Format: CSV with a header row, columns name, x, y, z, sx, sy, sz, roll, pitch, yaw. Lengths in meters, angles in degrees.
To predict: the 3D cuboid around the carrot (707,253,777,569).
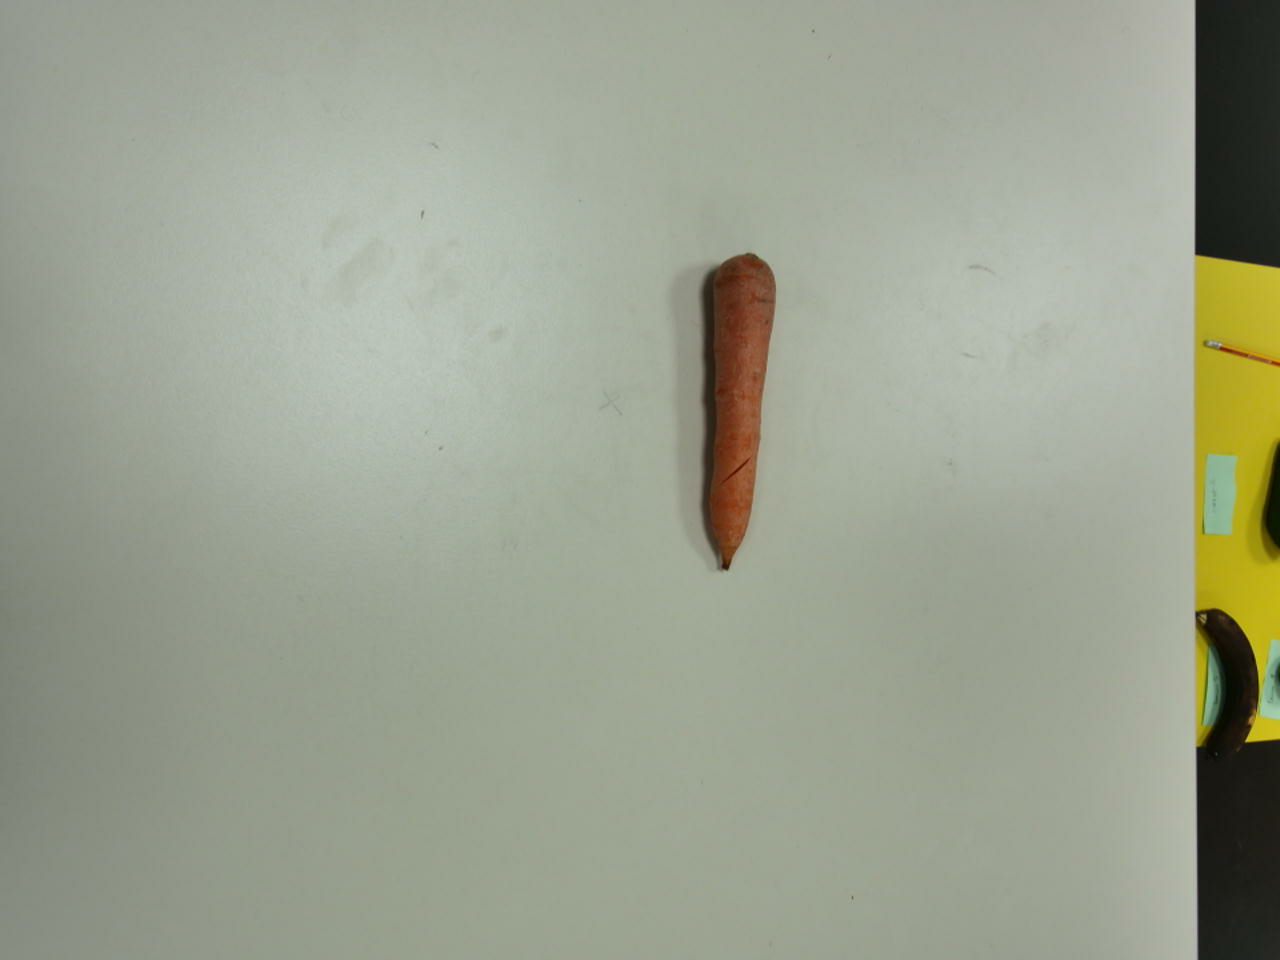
name,x,y,z,sx,sy,sz,roll,pitch,yaw
carrot,0.063,-0.040,0.616,0.039,0.041,0.196,1,90,-23
